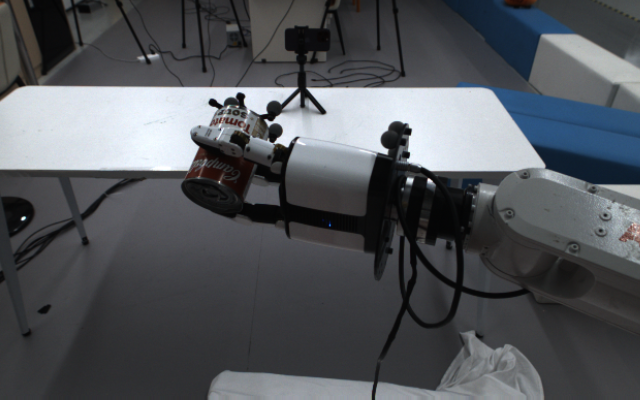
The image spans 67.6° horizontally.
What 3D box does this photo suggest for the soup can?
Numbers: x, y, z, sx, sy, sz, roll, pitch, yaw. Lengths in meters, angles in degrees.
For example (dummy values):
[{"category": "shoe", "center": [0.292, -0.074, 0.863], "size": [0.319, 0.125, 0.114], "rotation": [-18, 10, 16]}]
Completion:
[{"category": "soup can", "center": [-0.100, -0.045, 0.534], "size": [0.067, 0.067, 0.101], "rotation": [9, 60, 10]}]
